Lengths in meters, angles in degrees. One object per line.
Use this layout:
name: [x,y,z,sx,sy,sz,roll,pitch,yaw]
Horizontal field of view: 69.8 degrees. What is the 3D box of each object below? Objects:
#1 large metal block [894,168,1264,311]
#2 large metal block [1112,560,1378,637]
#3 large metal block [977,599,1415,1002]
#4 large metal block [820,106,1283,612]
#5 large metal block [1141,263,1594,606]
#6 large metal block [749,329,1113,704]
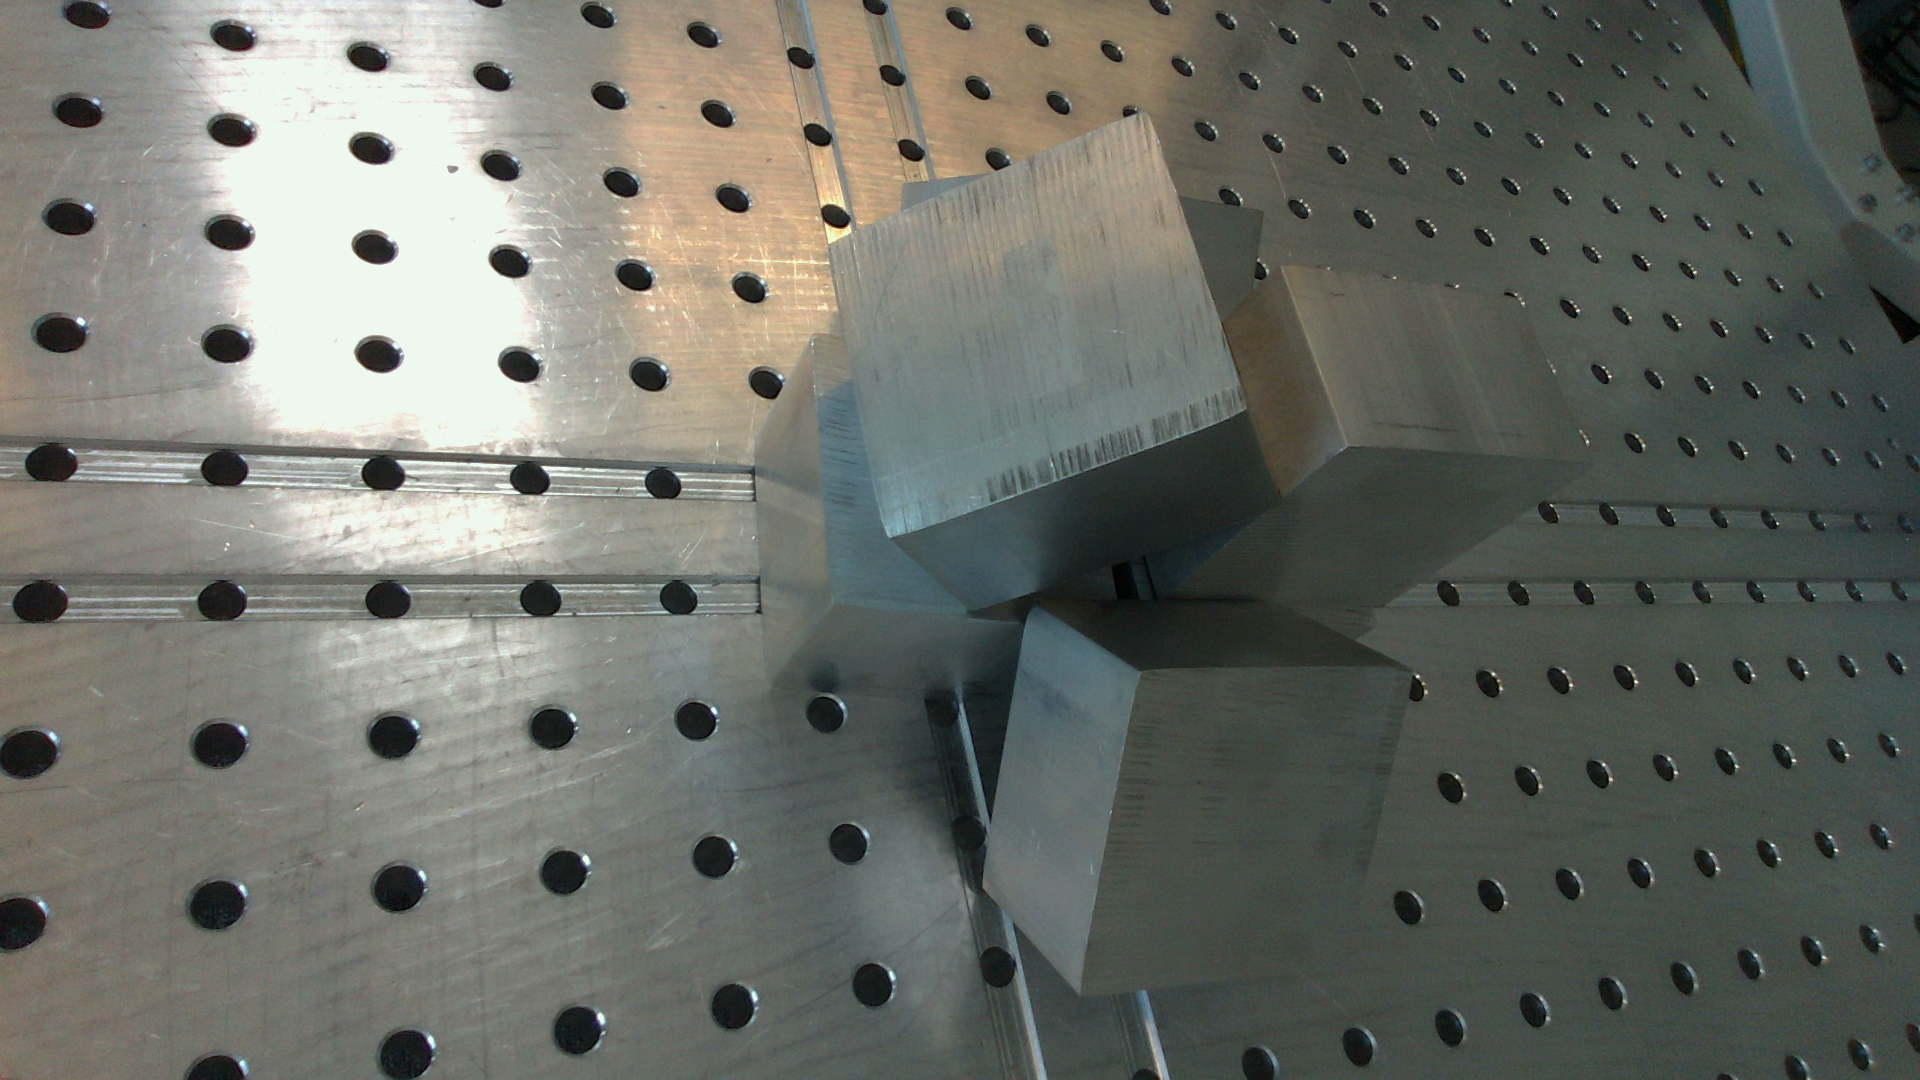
large metal block: [0.031,-0.078,0.412,0.080,0.080,0.050,2,99,-27]
large metal block: [0.066,0.000,0.412,0.080,0.050,0.080,3,60,-27]
large metal block: [0.057,0.061,0.343,0.080,0.050,0.080,2,105,-27]
large metal block: [0.021,-0.039,0.317,0.080,0.050,0.080,-19,64,13]
large metal block: [0.098,-0.023,0.359,0.080,0.080,0.050,2,60,-27]
large metal block: [-0.010,-0.004,0.374,0.080,0.050,0.080,7,59,-25]
